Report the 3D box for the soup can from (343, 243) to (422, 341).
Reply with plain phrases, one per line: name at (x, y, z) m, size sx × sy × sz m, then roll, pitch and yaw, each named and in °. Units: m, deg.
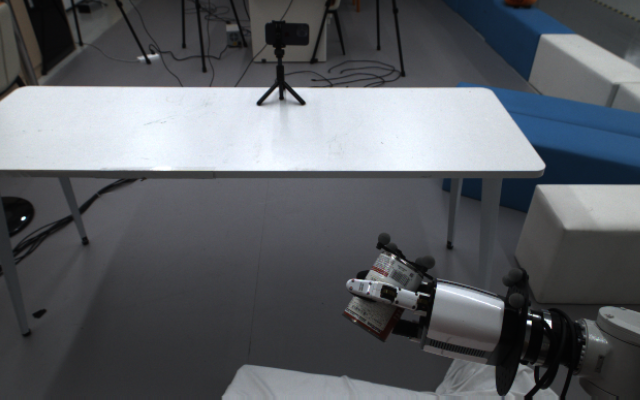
soup can at (0.085, 0.126, 0.644) m, size 0.067 × 0.067 × 0.101 m, roll 28°, pitch 78°, yaw 32°
